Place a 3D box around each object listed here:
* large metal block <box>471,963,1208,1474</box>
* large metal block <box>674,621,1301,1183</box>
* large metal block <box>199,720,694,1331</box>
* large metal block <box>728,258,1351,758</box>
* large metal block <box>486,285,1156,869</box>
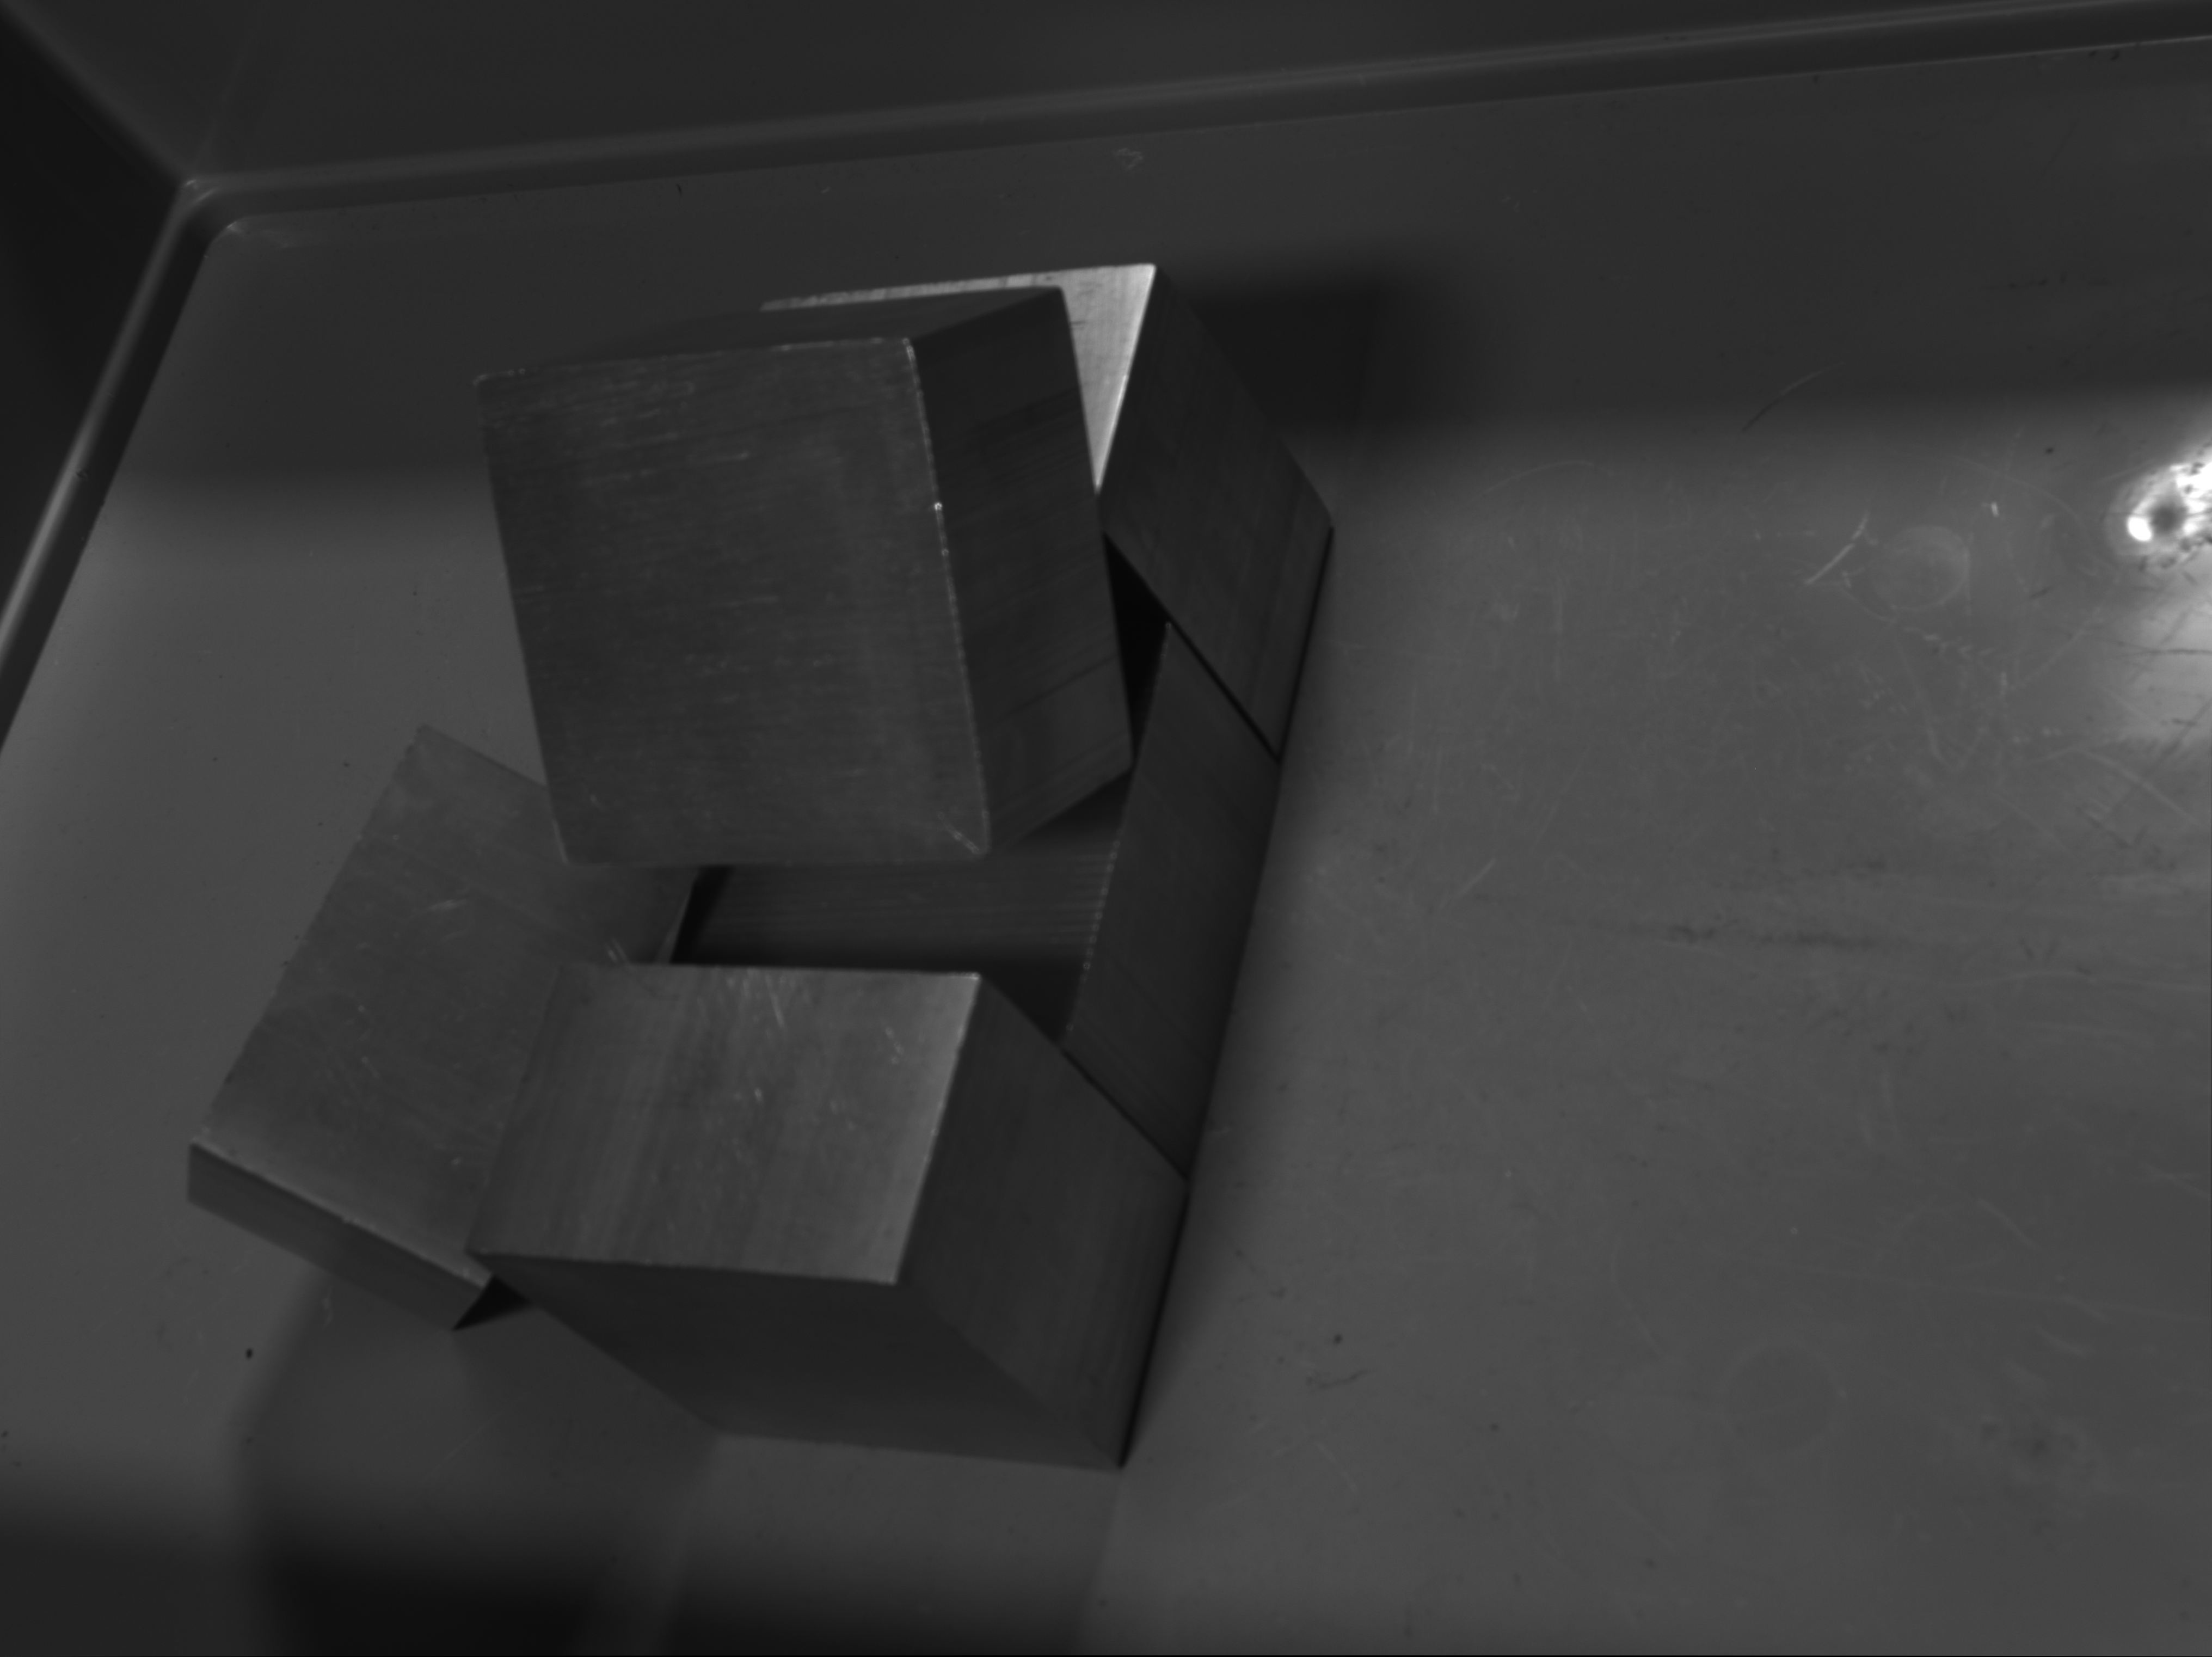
[{"bbox_3d":[-0.041,0.063,0.589,0.080,0.080,0.050,0,62,29],"label":"large metal block"},{"bbox_3d":[-0.020,0.013,0.632,0.080,0.050,0.080,-1,61,28],"label":"large metal block"},{"bbox_3d":[-0.115,0.037,0.636,0.050,0.080,0.080,28,72,-7],"label":"large metal block"},{"bbox_3d":[-0.013,-0.053,0.646,0.080,0.080,0.050,-1,61,28],"label":"large metal block"},{"bbox_3d":[-0.044,-0.039,0.583,0.080,0.080,0.050,-1,16,28],"label":"large metal block"}]
